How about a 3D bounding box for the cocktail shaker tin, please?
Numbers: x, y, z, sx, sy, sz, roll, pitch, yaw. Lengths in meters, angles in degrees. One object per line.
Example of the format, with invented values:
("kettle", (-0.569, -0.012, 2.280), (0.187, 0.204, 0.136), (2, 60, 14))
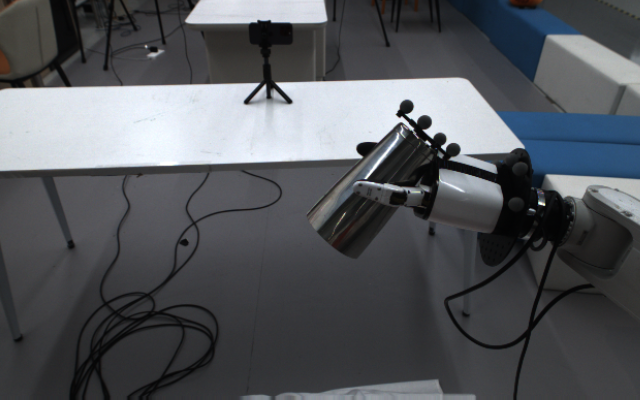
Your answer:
("cocktail shaker tin", (0.072, -0.020, 0.636), (0.093, 0.170, 0.093), (41, 12, -11))
